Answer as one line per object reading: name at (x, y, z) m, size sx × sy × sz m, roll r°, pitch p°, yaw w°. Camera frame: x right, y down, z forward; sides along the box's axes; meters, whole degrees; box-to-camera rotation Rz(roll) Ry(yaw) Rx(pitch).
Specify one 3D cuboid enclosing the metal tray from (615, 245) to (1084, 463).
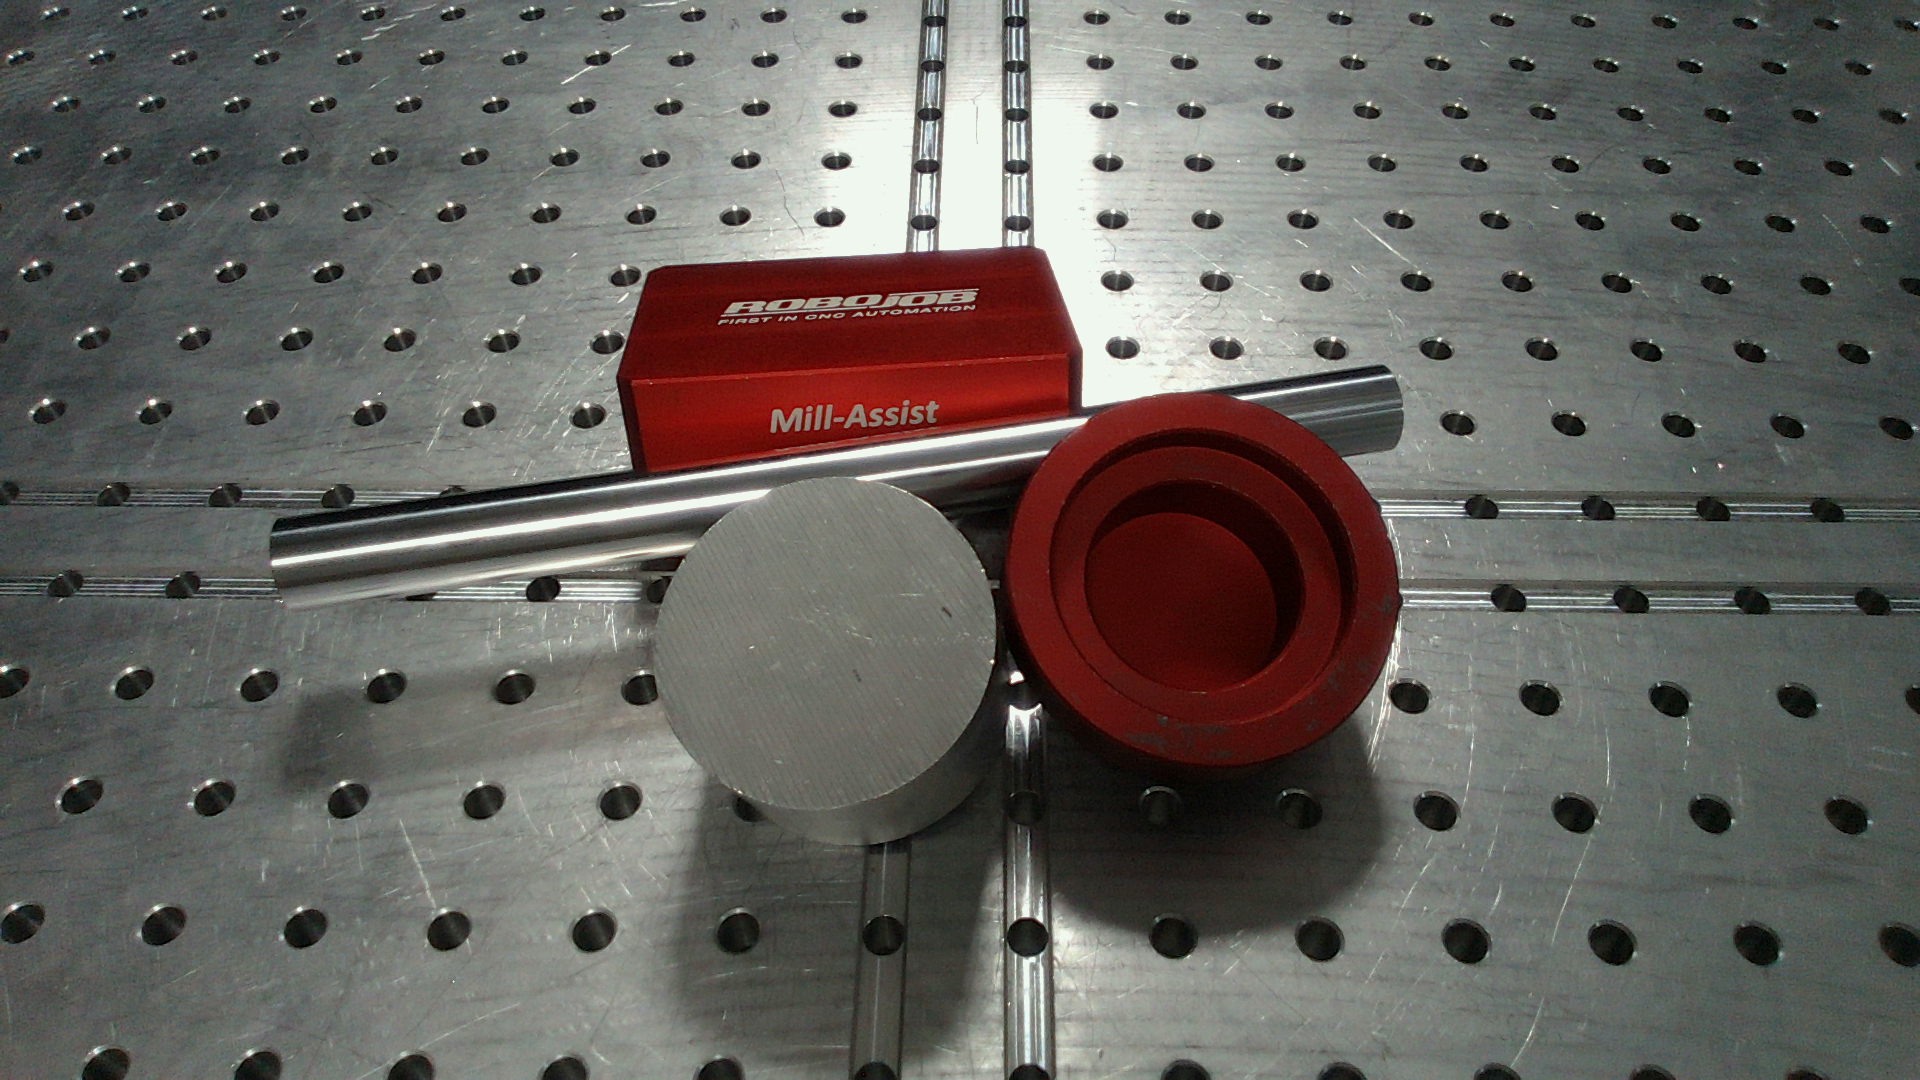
metal tray at (-0.033, -0.059, 0.422) m, size 0.130 × 0.030 × 0.090 m, roll -4°, pitch 31°, yaw -4°

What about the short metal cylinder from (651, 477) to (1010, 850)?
short metal cylinder at (-0.029, 0.031, 0.337) m, size 0.080 × 0.050 × 0.080 m, roll -2°, pitch 68°, yaw 5°

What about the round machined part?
round machined part at (0.059, 0.013, 0.357) m, size 0.098 × 0.042 × 0.098 m, roll 1°, pitch 72°, yaw -3°

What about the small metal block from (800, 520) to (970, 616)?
small metal block at (-0.028, 0.012, 0.395) m, size 0.050 × 0.025 × 0.050 m, roll 14°, pitch 51°, yaw 12°

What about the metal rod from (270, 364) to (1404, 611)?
metal rod at (-0.026, -0.016, 0.375) m, size 0.300 × 0.025 × 0.025 m, roll -8°, pitch 50°, yaw -7°
